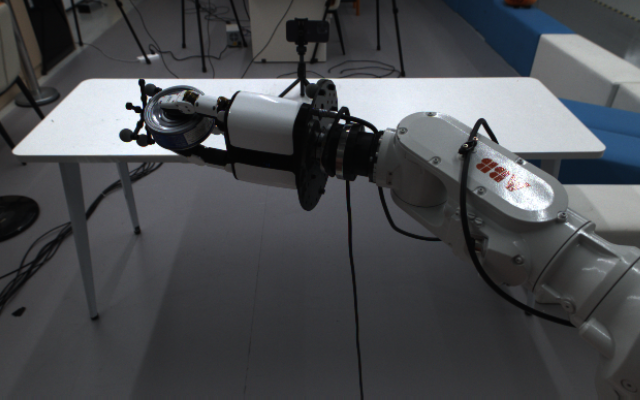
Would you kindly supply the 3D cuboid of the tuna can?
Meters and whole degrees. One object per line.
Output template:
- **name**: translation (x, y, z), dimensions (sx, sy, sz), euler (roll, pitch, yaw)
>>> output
- **tuna can**: translation (-0.181, -0.105, 0.629), dimensions (0.085, 0.034, 0.085), euler (-1, 59, 2)
